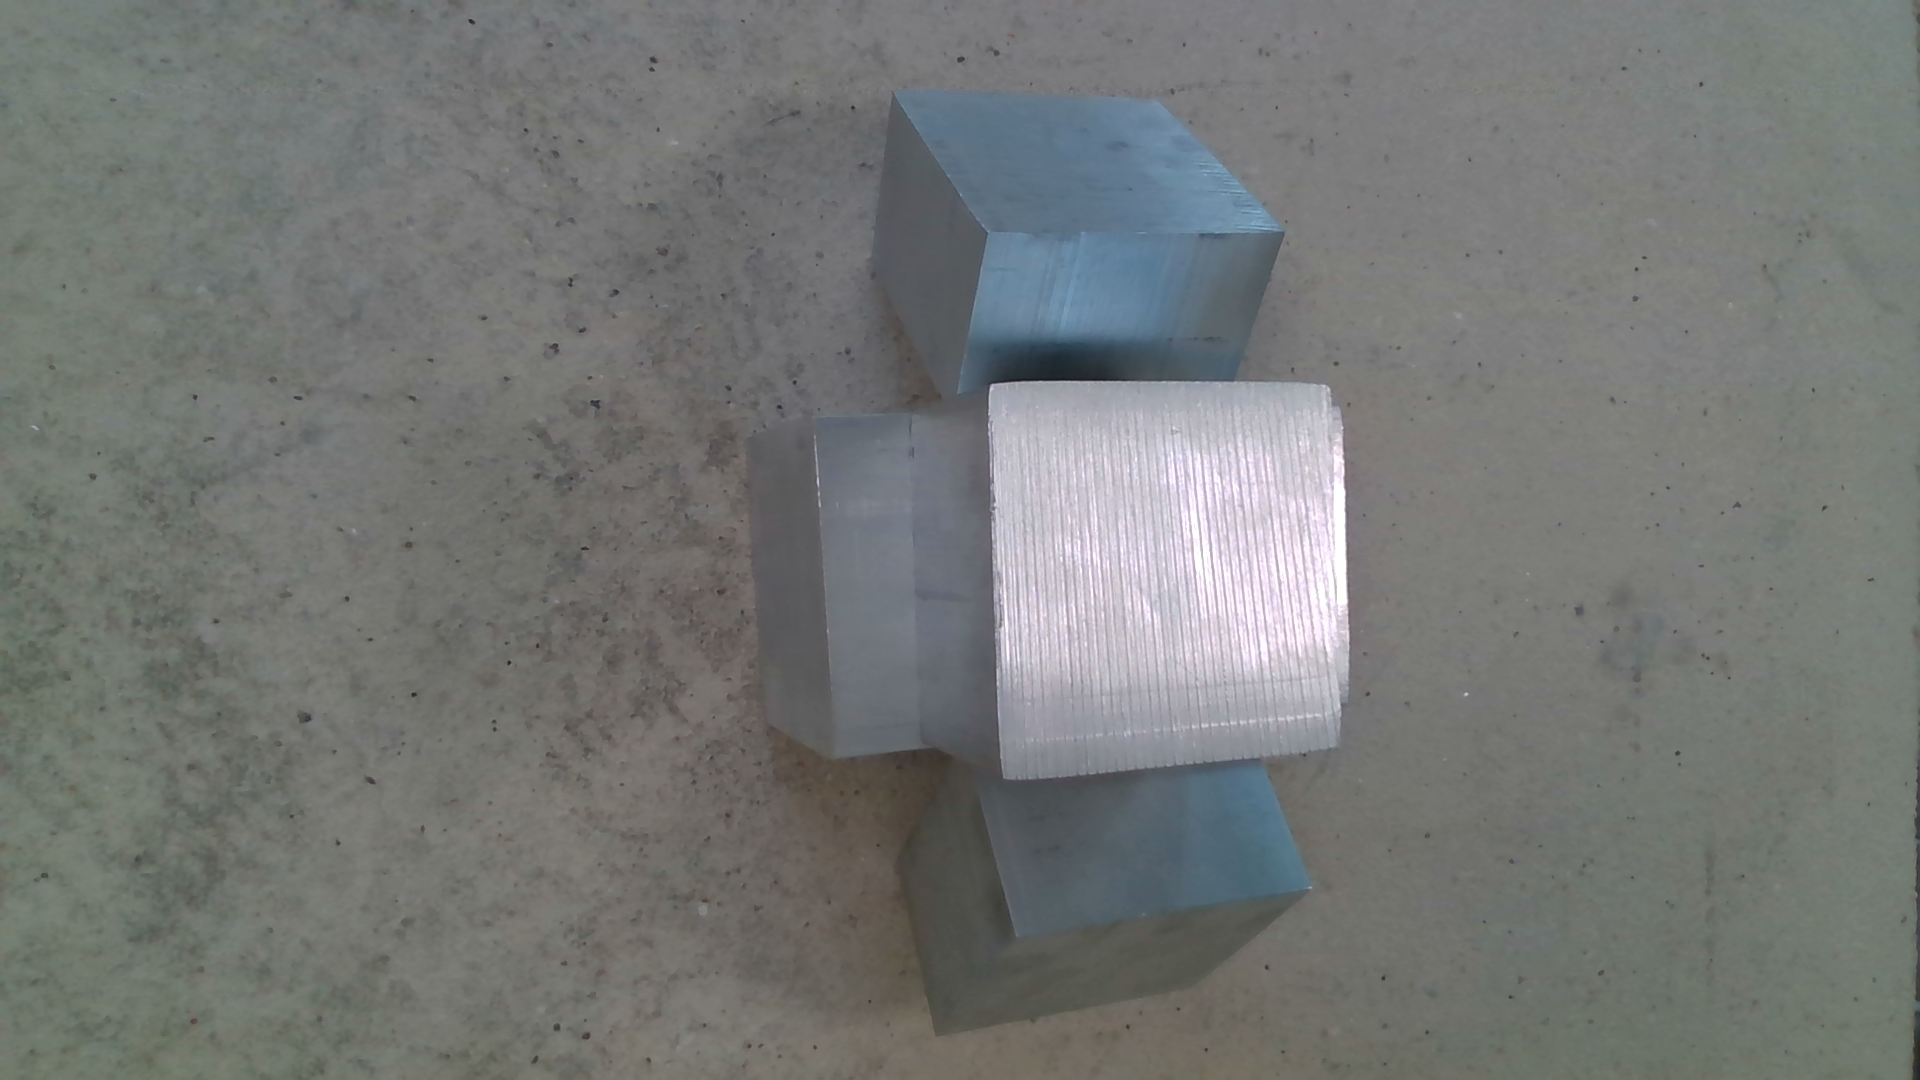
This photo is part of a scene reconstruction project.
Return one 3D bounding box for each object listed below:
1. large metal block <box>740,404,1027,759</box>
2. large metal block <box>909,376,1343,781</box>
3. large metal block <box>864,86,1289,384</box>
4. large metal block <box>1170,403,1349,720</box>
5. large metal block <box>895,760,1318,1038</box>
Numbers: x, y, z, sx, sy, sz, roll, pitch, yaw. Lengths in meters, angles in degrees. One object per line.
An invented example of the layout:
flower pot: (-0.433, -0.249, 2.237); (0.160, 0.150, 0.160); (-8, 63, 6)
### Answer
large metal block: (-0.023, 0.009, 0.358); (0.050, 0.080, 0.080); (-4, 91, -20)
large metal block: (0.036, 0.006, 0.309); (0.080, 0.050, 0.080); (-2, 91, -20)
large metal block: (0.027, -0.079, 0.367); (0.080, 0.080, 0.050); (-4, 131, -21)
large metal block: (0.063, 0.005, 0.389); (0.050, 0.080, 0.080); (-2, 91, -20)
large metal block: (0.035, 0.090, 0.370); (0.080, 0.080, 0.050); (-4, 57, -20)
